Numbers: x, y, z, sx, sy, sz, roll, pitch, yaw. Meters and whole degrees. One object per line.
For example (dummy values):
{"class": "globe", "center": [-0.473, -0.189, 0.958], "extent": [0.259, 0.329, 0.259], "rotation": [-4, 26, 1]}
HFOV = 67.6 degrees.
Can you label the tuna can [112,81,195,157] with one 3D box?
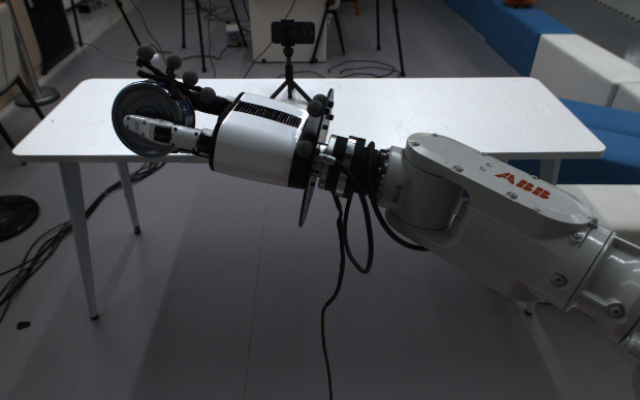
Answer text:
{"class": "tuna can", "center": [-0.187, -0.091, 0.546], "extent": [0.085, 0.085, 0.034], "rotation": [6, 19, 6]}
